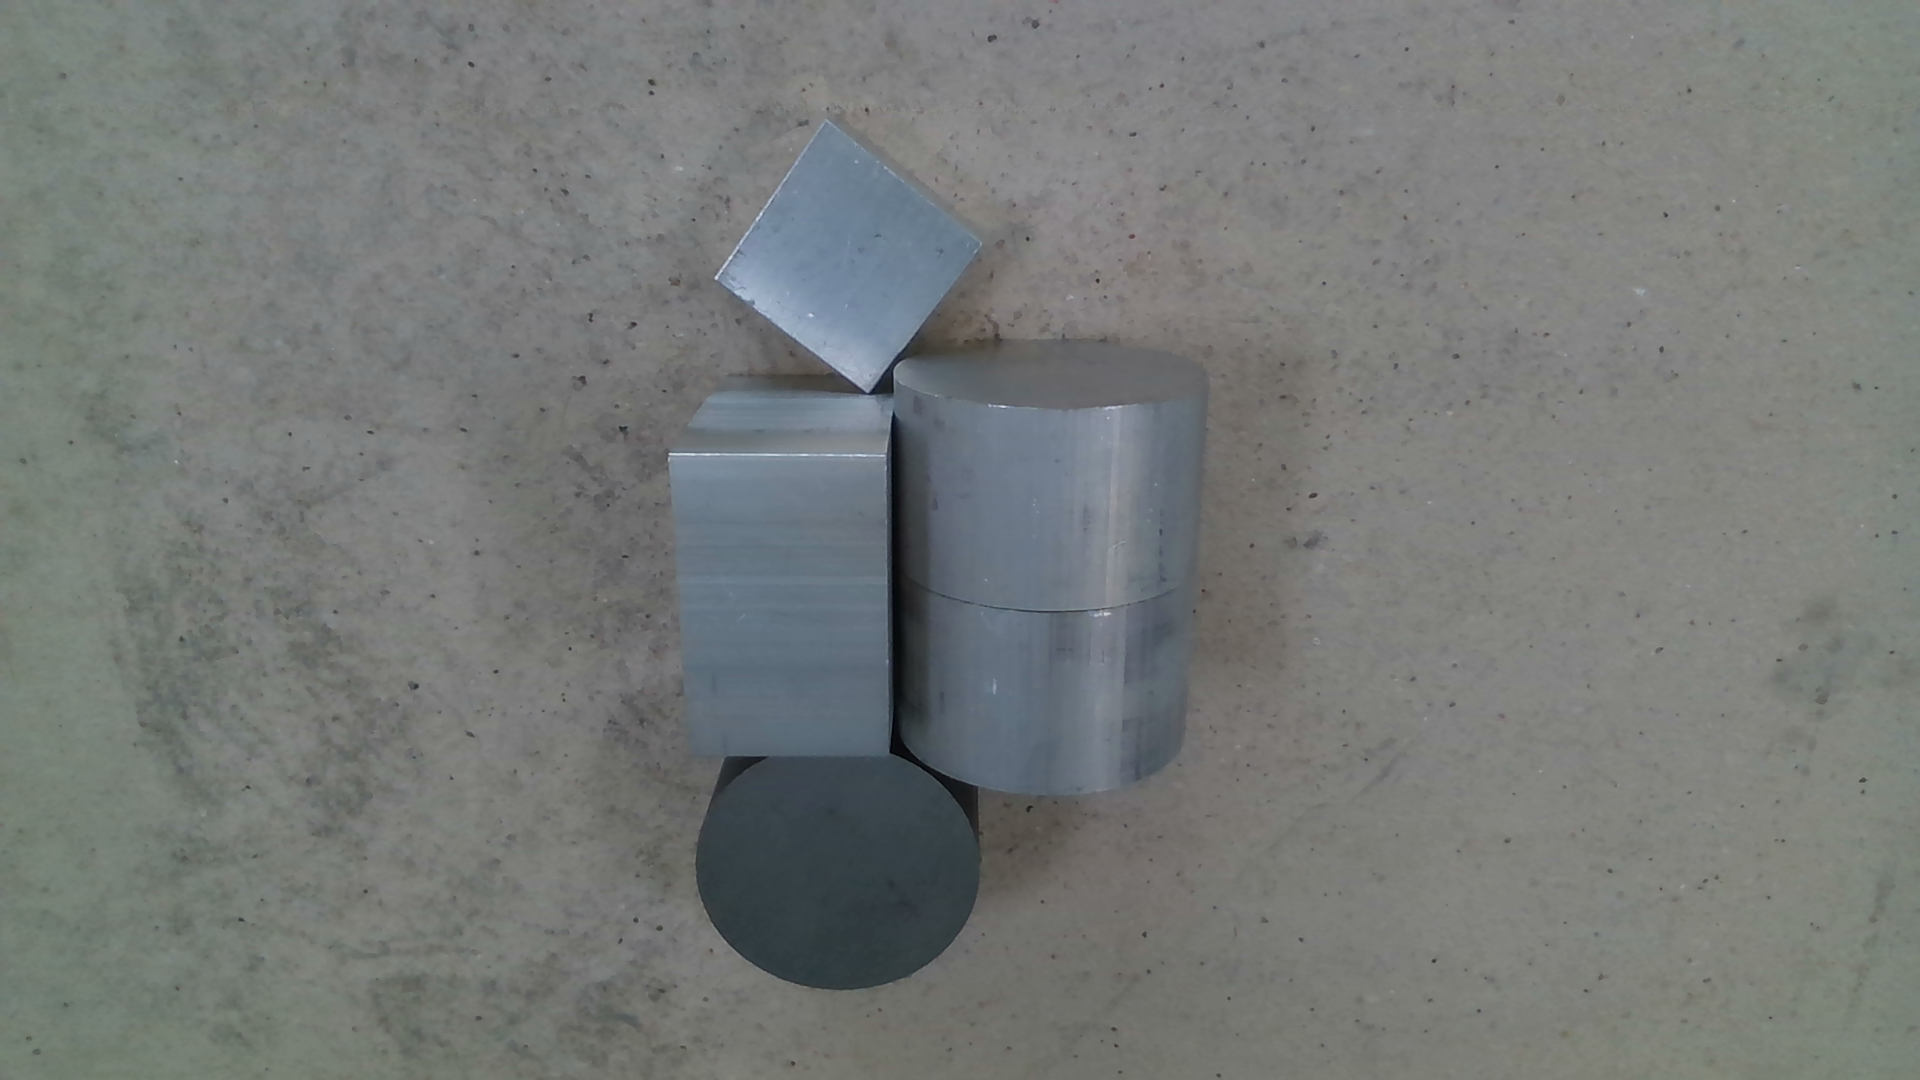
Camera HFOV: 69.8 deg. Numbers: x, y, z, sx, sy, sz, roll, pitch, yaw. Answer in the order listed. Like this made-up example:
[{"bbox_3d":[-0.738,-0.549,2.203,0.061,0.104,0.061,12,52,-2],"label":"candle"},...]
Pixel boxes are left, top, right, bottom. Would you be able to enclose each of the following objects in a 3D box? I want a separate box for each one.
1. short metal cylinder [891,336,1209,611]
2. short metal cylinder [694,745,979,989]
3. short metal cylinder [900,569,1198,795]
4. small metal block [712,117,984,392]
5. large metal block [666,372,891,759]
[{"bbox_3d":[0.022,-0.020,0.357,0.080,0.080,0.050,1,110,0],"label":"short metal cylinder"},{"bbox_3d":[-0.035,0.085,0.411,0.080,0.050,0.080,0,110,0],"label":"short metal cylinder"},{"bbox_3d":[0.023,0.027,0.375,0.080,0.080,0.050,1,110,0],"label":"short metal cylinder"},{"bbox_3d":[-0.029,-0.076,0.366,0.050,0.025,0.050,36,106,-12],"label":"small metal block"},{"bbox_3d":[-0.043,0.003,0.366,0.050,0.080,0.080,1,110,0],"label":"large metal block"}]
